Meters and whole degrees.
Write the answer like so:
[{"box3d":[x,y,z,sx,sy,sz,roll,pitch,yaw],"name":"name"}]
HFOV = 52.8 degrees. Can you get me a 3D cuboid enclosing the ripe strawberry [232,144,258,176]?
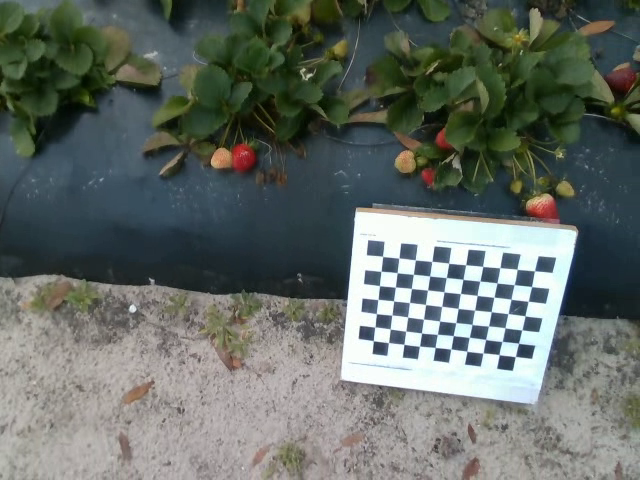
[{"box3d":[-0.102,-0.107,0.816,0.034,0.042,0.033,35,-39,-6],"name":"ripe strawberry"}]
